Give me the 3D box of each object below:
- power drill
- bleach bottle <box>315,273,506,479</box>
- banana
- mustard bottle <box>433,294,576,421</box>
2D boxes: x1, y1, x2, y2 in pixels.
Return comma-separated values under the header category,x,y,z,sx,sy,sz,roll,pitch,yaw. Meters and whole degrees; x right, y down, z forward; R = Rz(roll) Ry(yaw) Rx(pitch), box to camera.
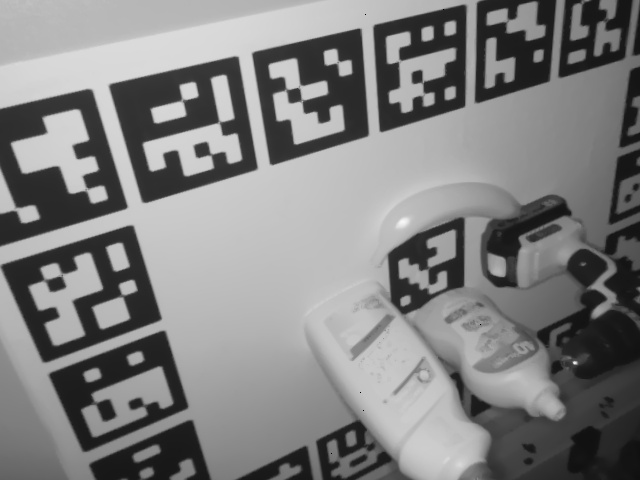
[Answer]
category,x,y,z,sx,sy,sz,roll,pitch,yaw
power drill,0.297,0.050,0.708,0.186,0.186,0.057,-19,127,-15
bleach bottle,0.088,0.121,0.630,0.103,0.249,0.067,-25,120,-14
banana,0.152,-0.027,0.712,0.200,0.038,0.074,-16,114,-22
mustard bottle,0.204,0.125,0.717,0.097,0.190,0.058,-17,119,-18
